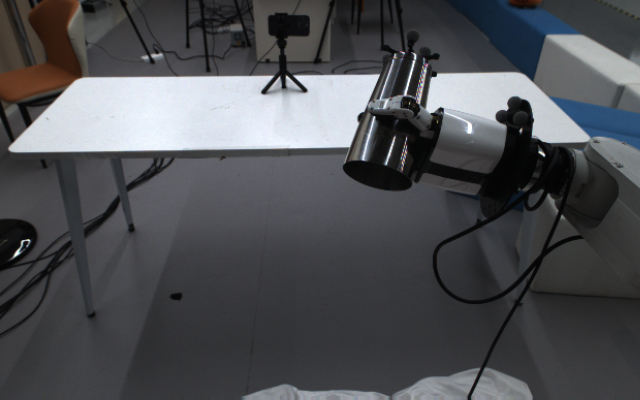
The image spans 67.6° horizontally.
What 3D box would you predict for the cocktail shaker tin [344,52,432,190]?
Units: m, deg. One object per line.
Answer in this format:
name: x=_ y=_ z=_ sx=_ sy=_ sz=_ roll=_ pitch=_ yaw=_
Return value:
cocktail shaker tin: x=0.099 y=-0.107 z=0.647 sx=0.093 sy=0.093 sz=0.170 roll=13 pitch=74 yaw=15
